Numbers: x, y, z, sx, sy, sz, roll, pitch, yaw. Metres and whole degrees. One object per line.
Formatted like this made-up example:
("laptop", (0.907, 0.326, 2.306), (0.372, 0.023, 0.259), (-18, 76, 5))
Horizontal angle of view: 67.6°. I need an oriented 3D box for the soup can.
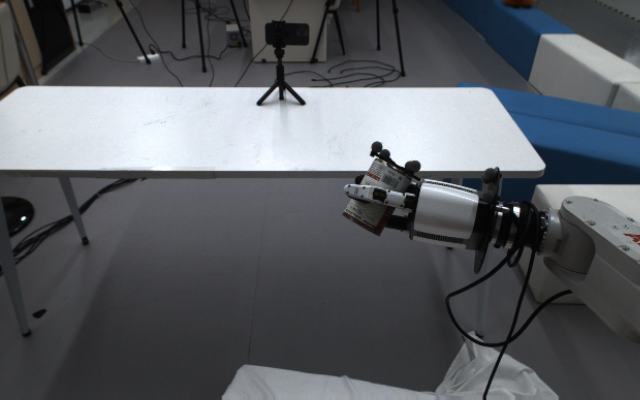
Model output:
("soup can", (0.088, -0.005, 0.744), (0.067, 0.101, 0.067), (30, 1, -1))
